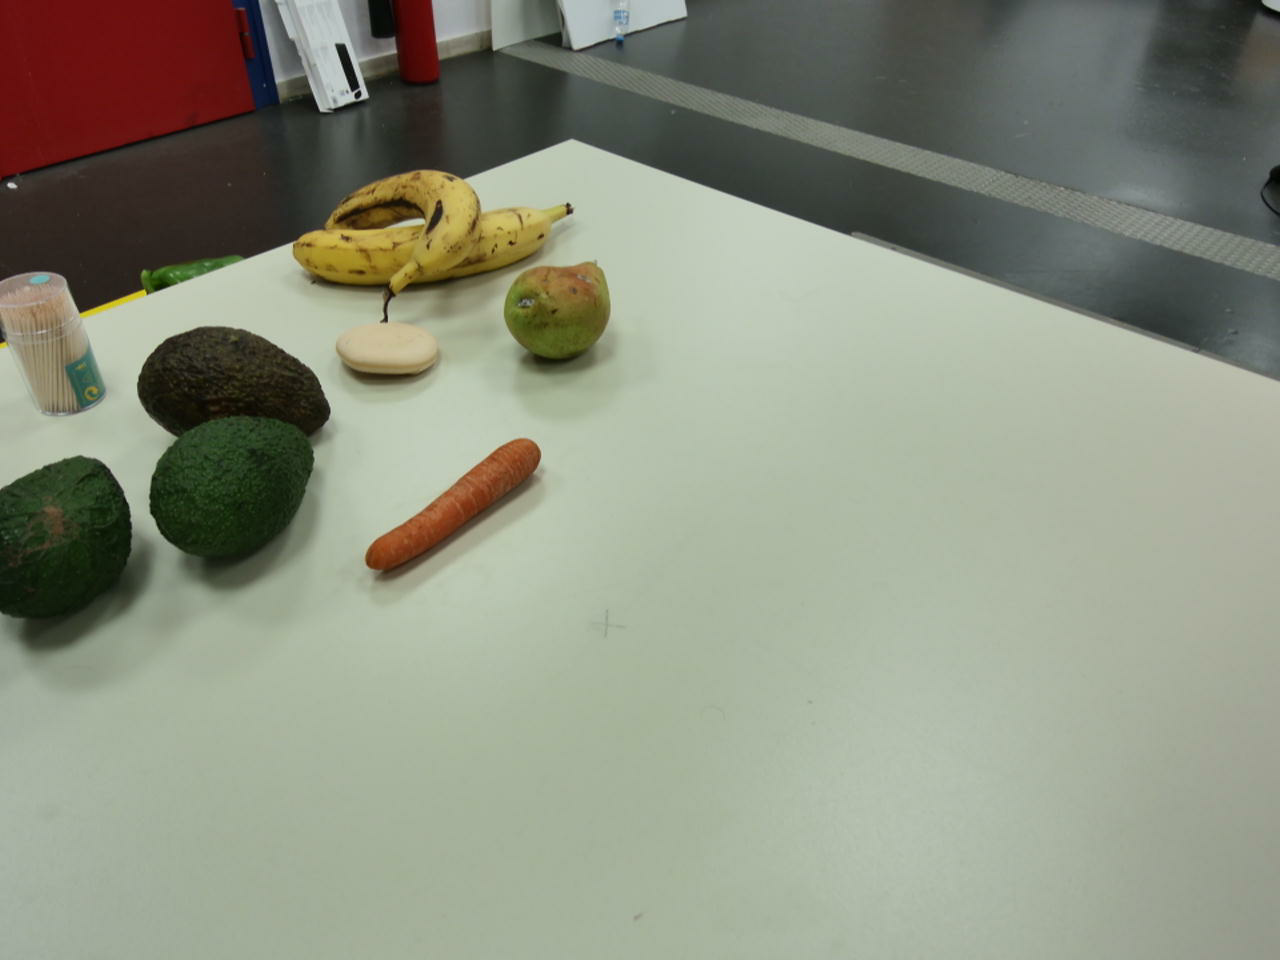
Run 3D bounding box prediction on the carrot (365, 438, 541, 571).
[{"bbox_3d":[-0.096,0.011,0.528,0.024,0.023,0.122,26,43,29],"label":"carrot"}]
